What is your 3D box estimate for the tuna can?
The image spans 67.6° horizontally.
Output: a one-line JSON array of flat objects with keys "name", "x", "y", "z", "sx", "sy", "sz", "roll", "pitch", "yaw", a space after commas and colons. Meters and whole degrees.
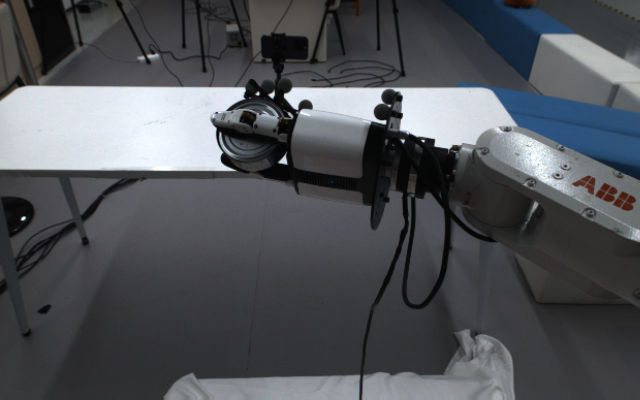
[{"name": "tuna can", "x": -0.079, "y": -0.081, "z": 0.588, "sx": 0.085, "sy": 0.034, "sz": 0.085, "roll": -4, "pitch": 67, "yaw": 10}]
